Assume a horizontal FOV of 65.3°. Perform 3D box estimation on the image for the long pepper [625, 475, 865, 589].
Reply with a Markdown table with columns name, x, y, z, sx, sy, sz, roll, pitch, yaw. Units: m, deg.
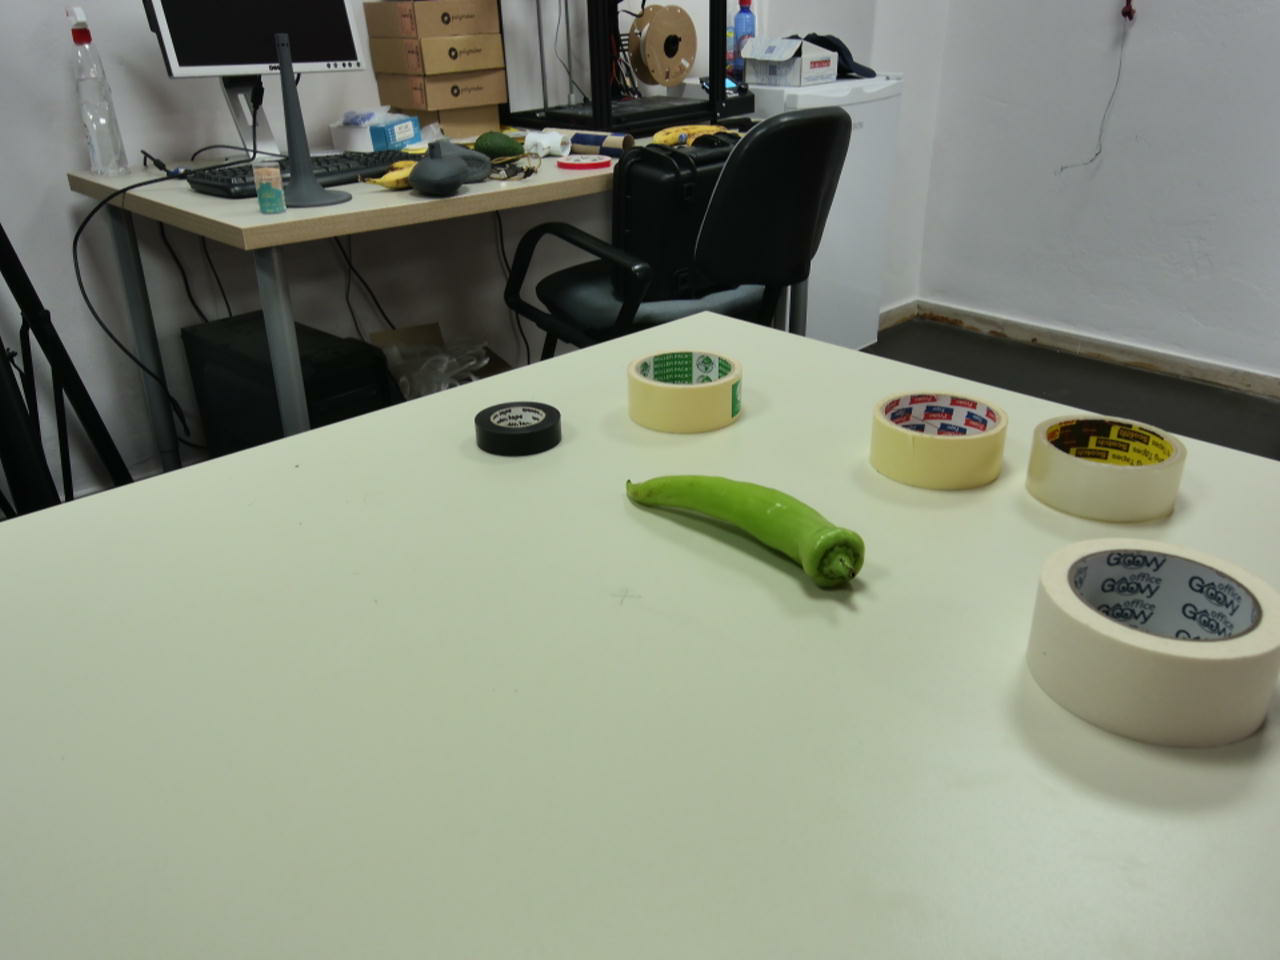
| name | x | y | z | sx | sy | sz | roll | pitch | yaw |
| --- | --- | --- | --- | --- | --- | --- | --- | --- | --- |
| long pepper | 0.063 | 0.020 | 0.617 | 0.046 | 0.038 | 0.197 | -19 | 30 | -36 |
